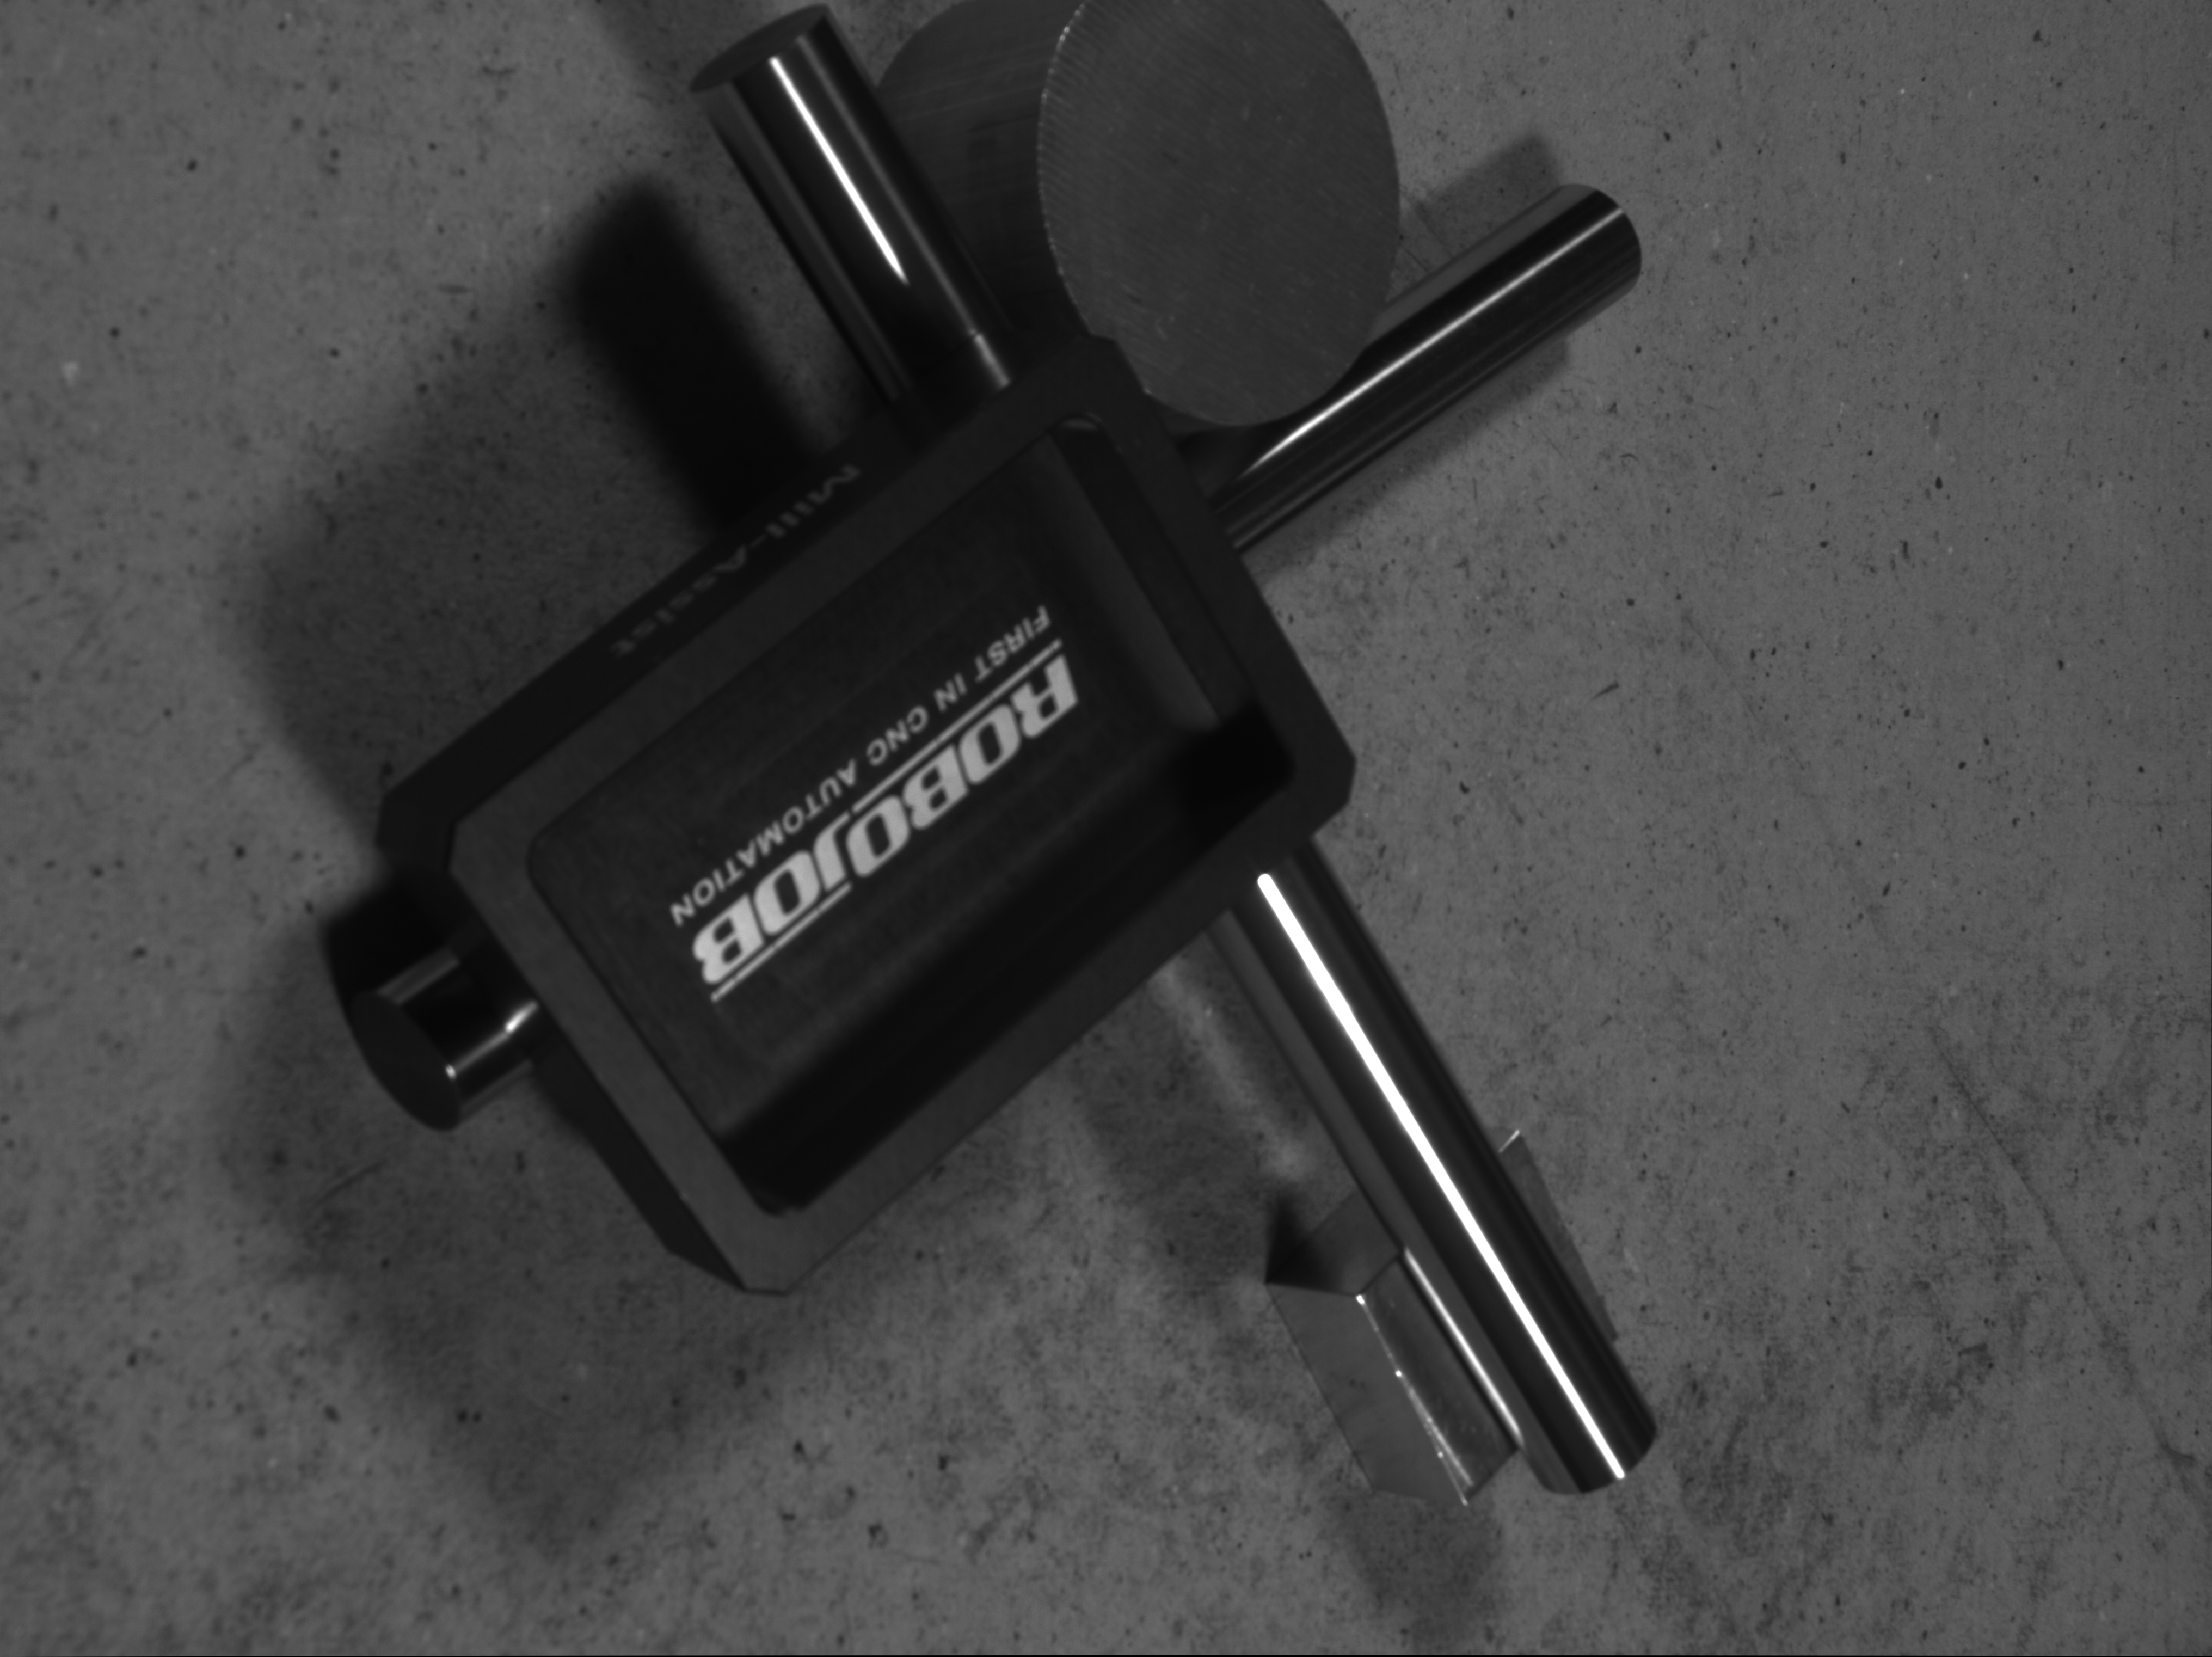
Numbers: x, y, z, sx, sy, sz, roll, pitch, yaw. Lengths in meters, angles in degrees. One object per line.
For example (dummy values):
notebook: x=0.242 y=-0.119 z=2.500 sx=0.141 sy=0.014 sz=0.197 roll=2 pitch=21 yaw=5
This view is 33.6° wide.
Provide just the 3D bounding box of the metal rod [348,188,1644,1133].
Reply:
metal rod: x=-0.005 y=-0.039 z=0.633 sx=0.301 sy=0.025 sz=0.025 roll=-37 pitch=112 yaw=-34

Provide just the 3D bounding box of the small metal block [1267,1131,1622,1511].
small metal block: x=0.065 y=0.091 z=0.691 sx=0.050 sy=0.025 sz=0.050 roll=-41 pitch=115 yaw=-32

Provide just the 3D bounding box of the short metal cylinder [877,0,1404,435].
short metal cylinder: x=0.005 y=-0.106 z=0.624 sx=0.080 sy=0.050 sz=0.080 roll=0 pitch=90 yaw=-40

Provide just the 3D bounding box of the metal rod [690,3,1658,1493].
metal rod: x=0.019 y=-0.003 z=0.621 sx=0.025 sy=0.025 sz=0.300 roll=-46 pitch=117 yaw=-30

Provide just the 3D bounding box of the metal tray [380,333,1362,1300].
metal tray: x=-0.032 y=-0.004 z=0.557 sx=0.130 sy=0.030 sz=0.090 roll=-41 pitch=115 yaw=-19
